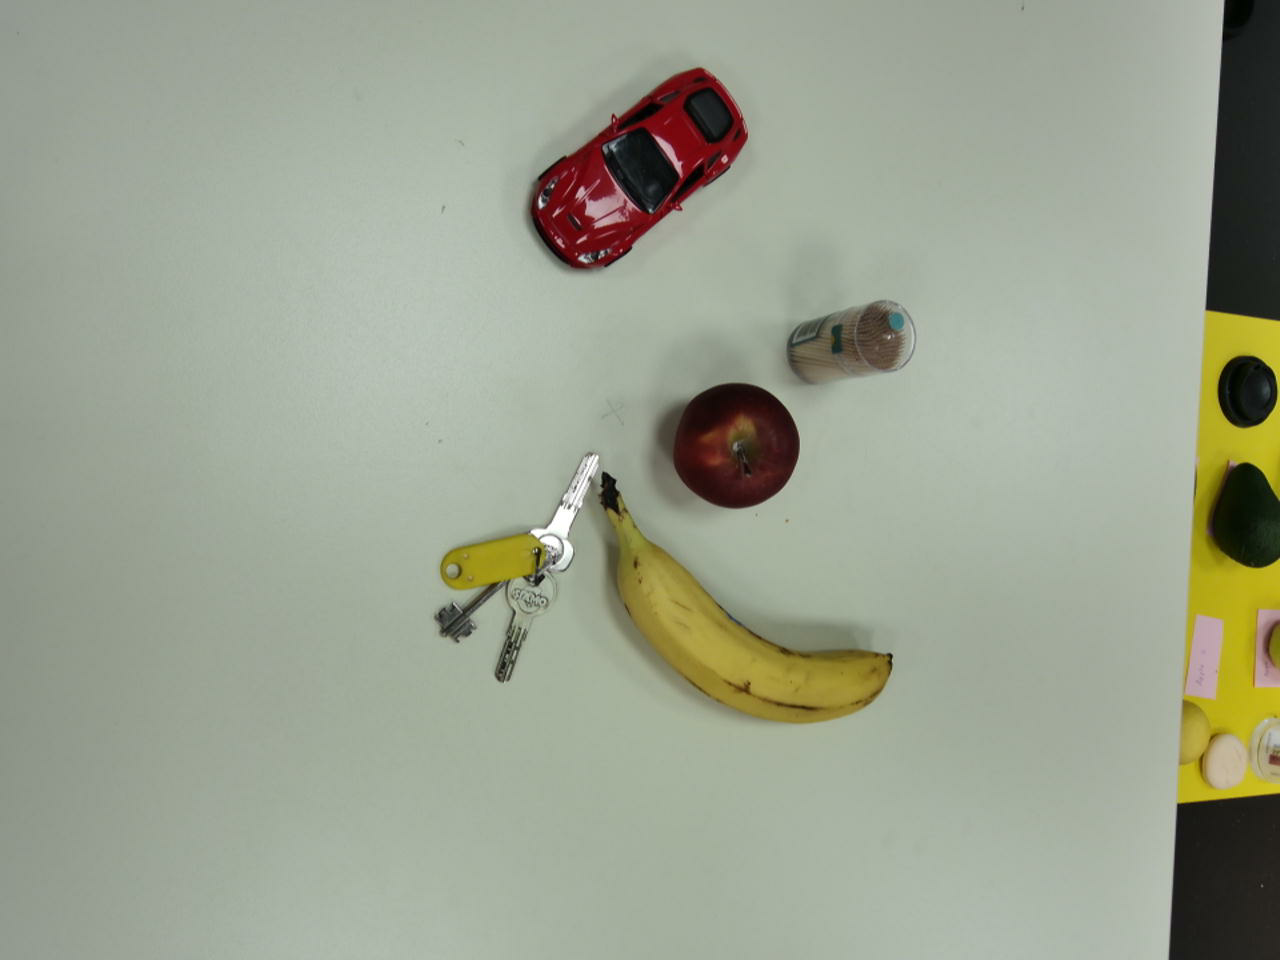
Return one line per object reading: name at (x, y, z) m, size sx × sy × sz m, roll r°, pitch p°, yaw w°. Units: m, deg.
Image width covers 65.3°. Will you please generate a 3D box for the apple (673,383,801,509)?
apple at (0.052, -0.018, 0.552) m, size 0.070 × 0.072 × 0.070 m, roll 0°, pitch 90°, yaw -22°
